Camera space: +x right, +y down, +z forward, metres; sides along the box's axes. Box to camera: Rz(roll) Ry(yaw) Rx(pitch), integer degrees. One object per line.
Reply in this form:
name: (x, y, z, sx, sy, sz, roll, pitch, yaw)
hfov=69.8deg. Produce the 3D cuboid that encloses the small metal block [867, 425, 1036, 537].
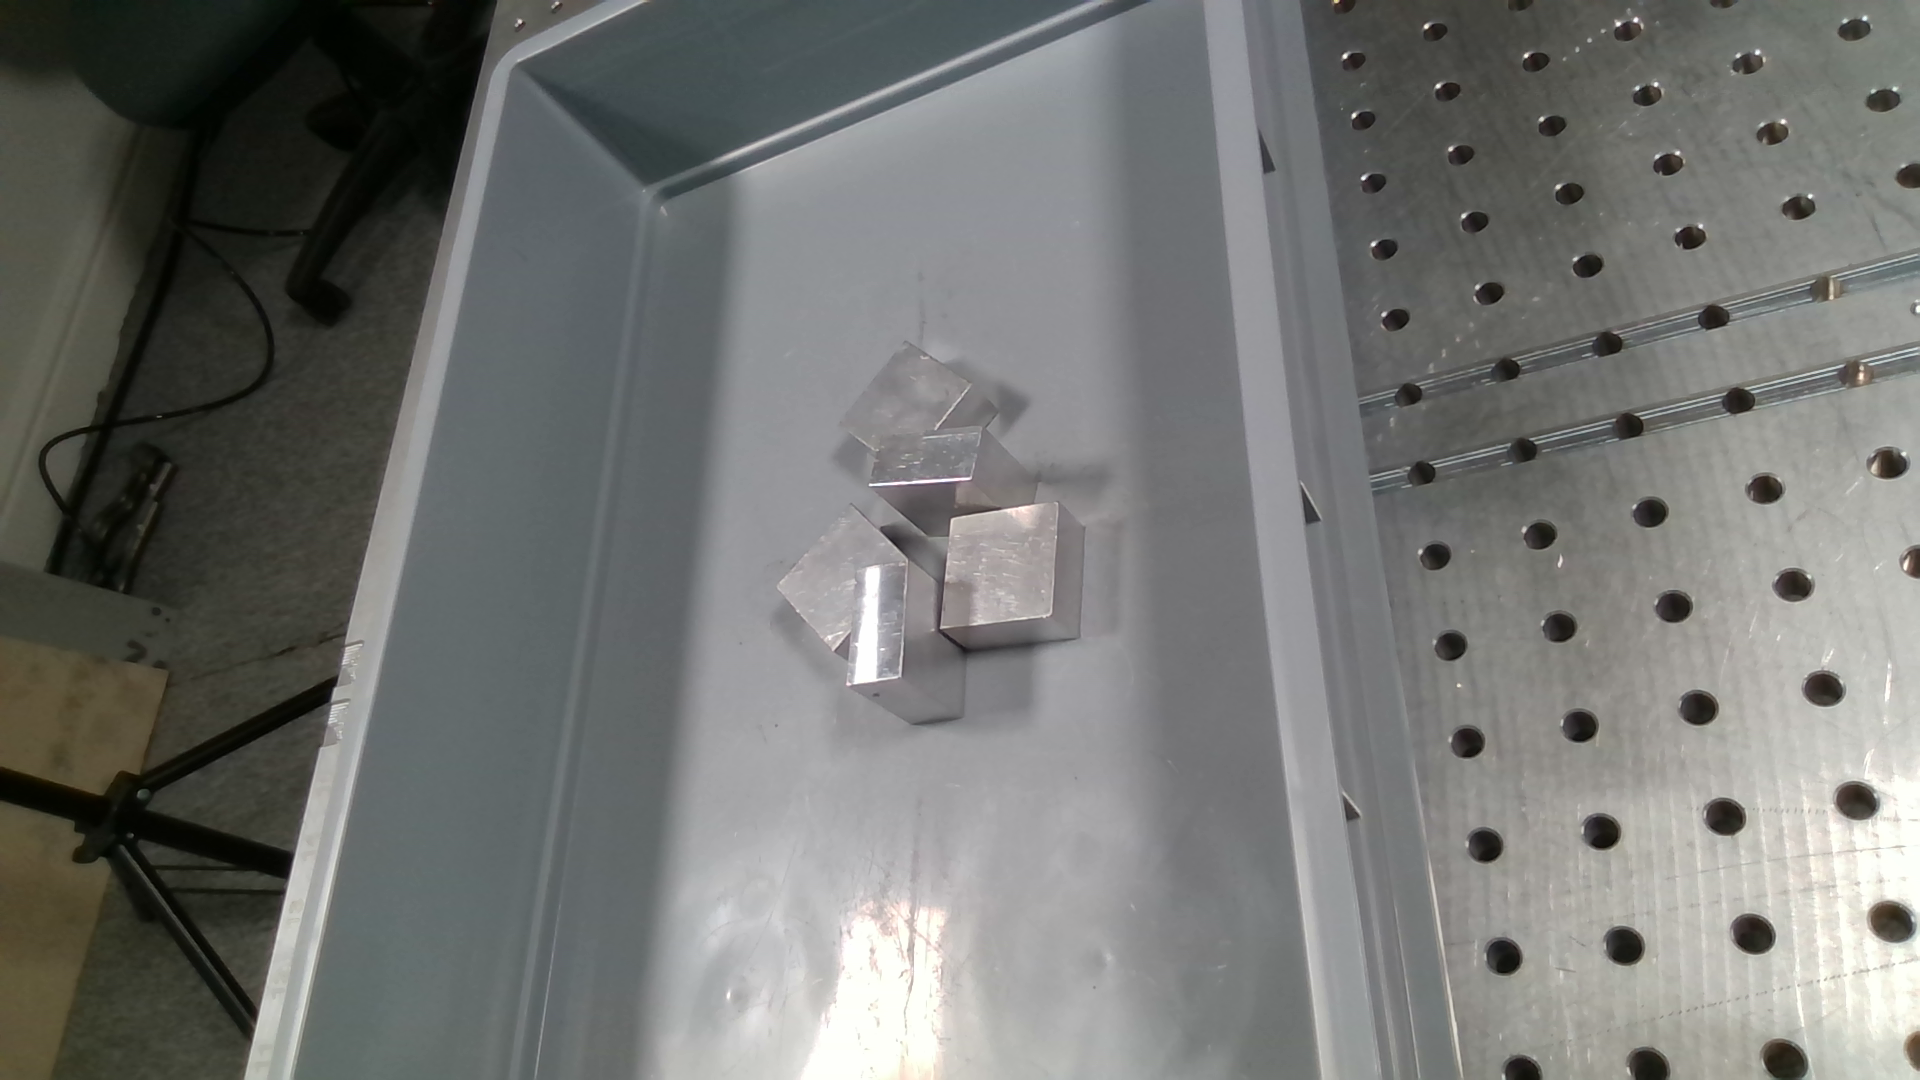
small metal block: (-0.003, -0.024, 0.582, 0.050, 0.050, 0.025, -2, 64, 31)

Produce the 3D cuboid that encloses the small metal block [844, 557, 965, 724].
small metal block: (-0.021, 0.042, 0.558, 0.025, 0.050, 0.050, -11, 60, 26)

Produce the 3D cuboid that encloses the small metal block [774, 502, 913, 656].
small metal block: (-0.045, 0.020, 0.600, 0.050, 0.025, 0.050, -48, 51, 1)

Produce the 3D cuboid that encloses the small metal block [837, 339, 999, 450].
small metal block: (-0.019, -0.056, 0.625, 0.050, 0.025, 0.050, 37, 88, 39)

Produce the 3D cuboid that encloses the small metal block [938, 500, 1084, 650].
small metal block: (0.021, 0.015, 0.563, 0.050, 0.025, 0.050, -8, 62, 28)
